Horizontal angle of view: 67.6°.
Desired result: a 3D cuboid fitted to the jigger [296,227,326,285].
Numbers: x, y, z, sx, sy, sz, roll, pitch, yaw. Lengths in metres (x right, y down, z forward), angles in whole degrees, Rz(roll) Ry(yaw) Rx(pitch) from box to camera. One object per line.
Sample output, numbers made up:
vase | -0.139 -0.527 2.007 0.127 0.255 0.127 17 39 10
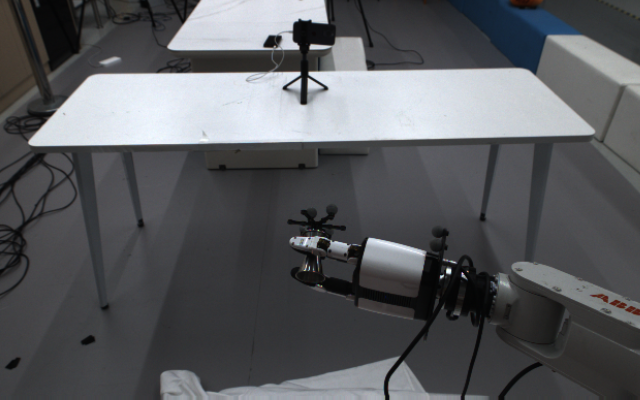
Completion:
jigger | -0.013 0.080 0.712 0.043 0.043 0.071 6 60 5
